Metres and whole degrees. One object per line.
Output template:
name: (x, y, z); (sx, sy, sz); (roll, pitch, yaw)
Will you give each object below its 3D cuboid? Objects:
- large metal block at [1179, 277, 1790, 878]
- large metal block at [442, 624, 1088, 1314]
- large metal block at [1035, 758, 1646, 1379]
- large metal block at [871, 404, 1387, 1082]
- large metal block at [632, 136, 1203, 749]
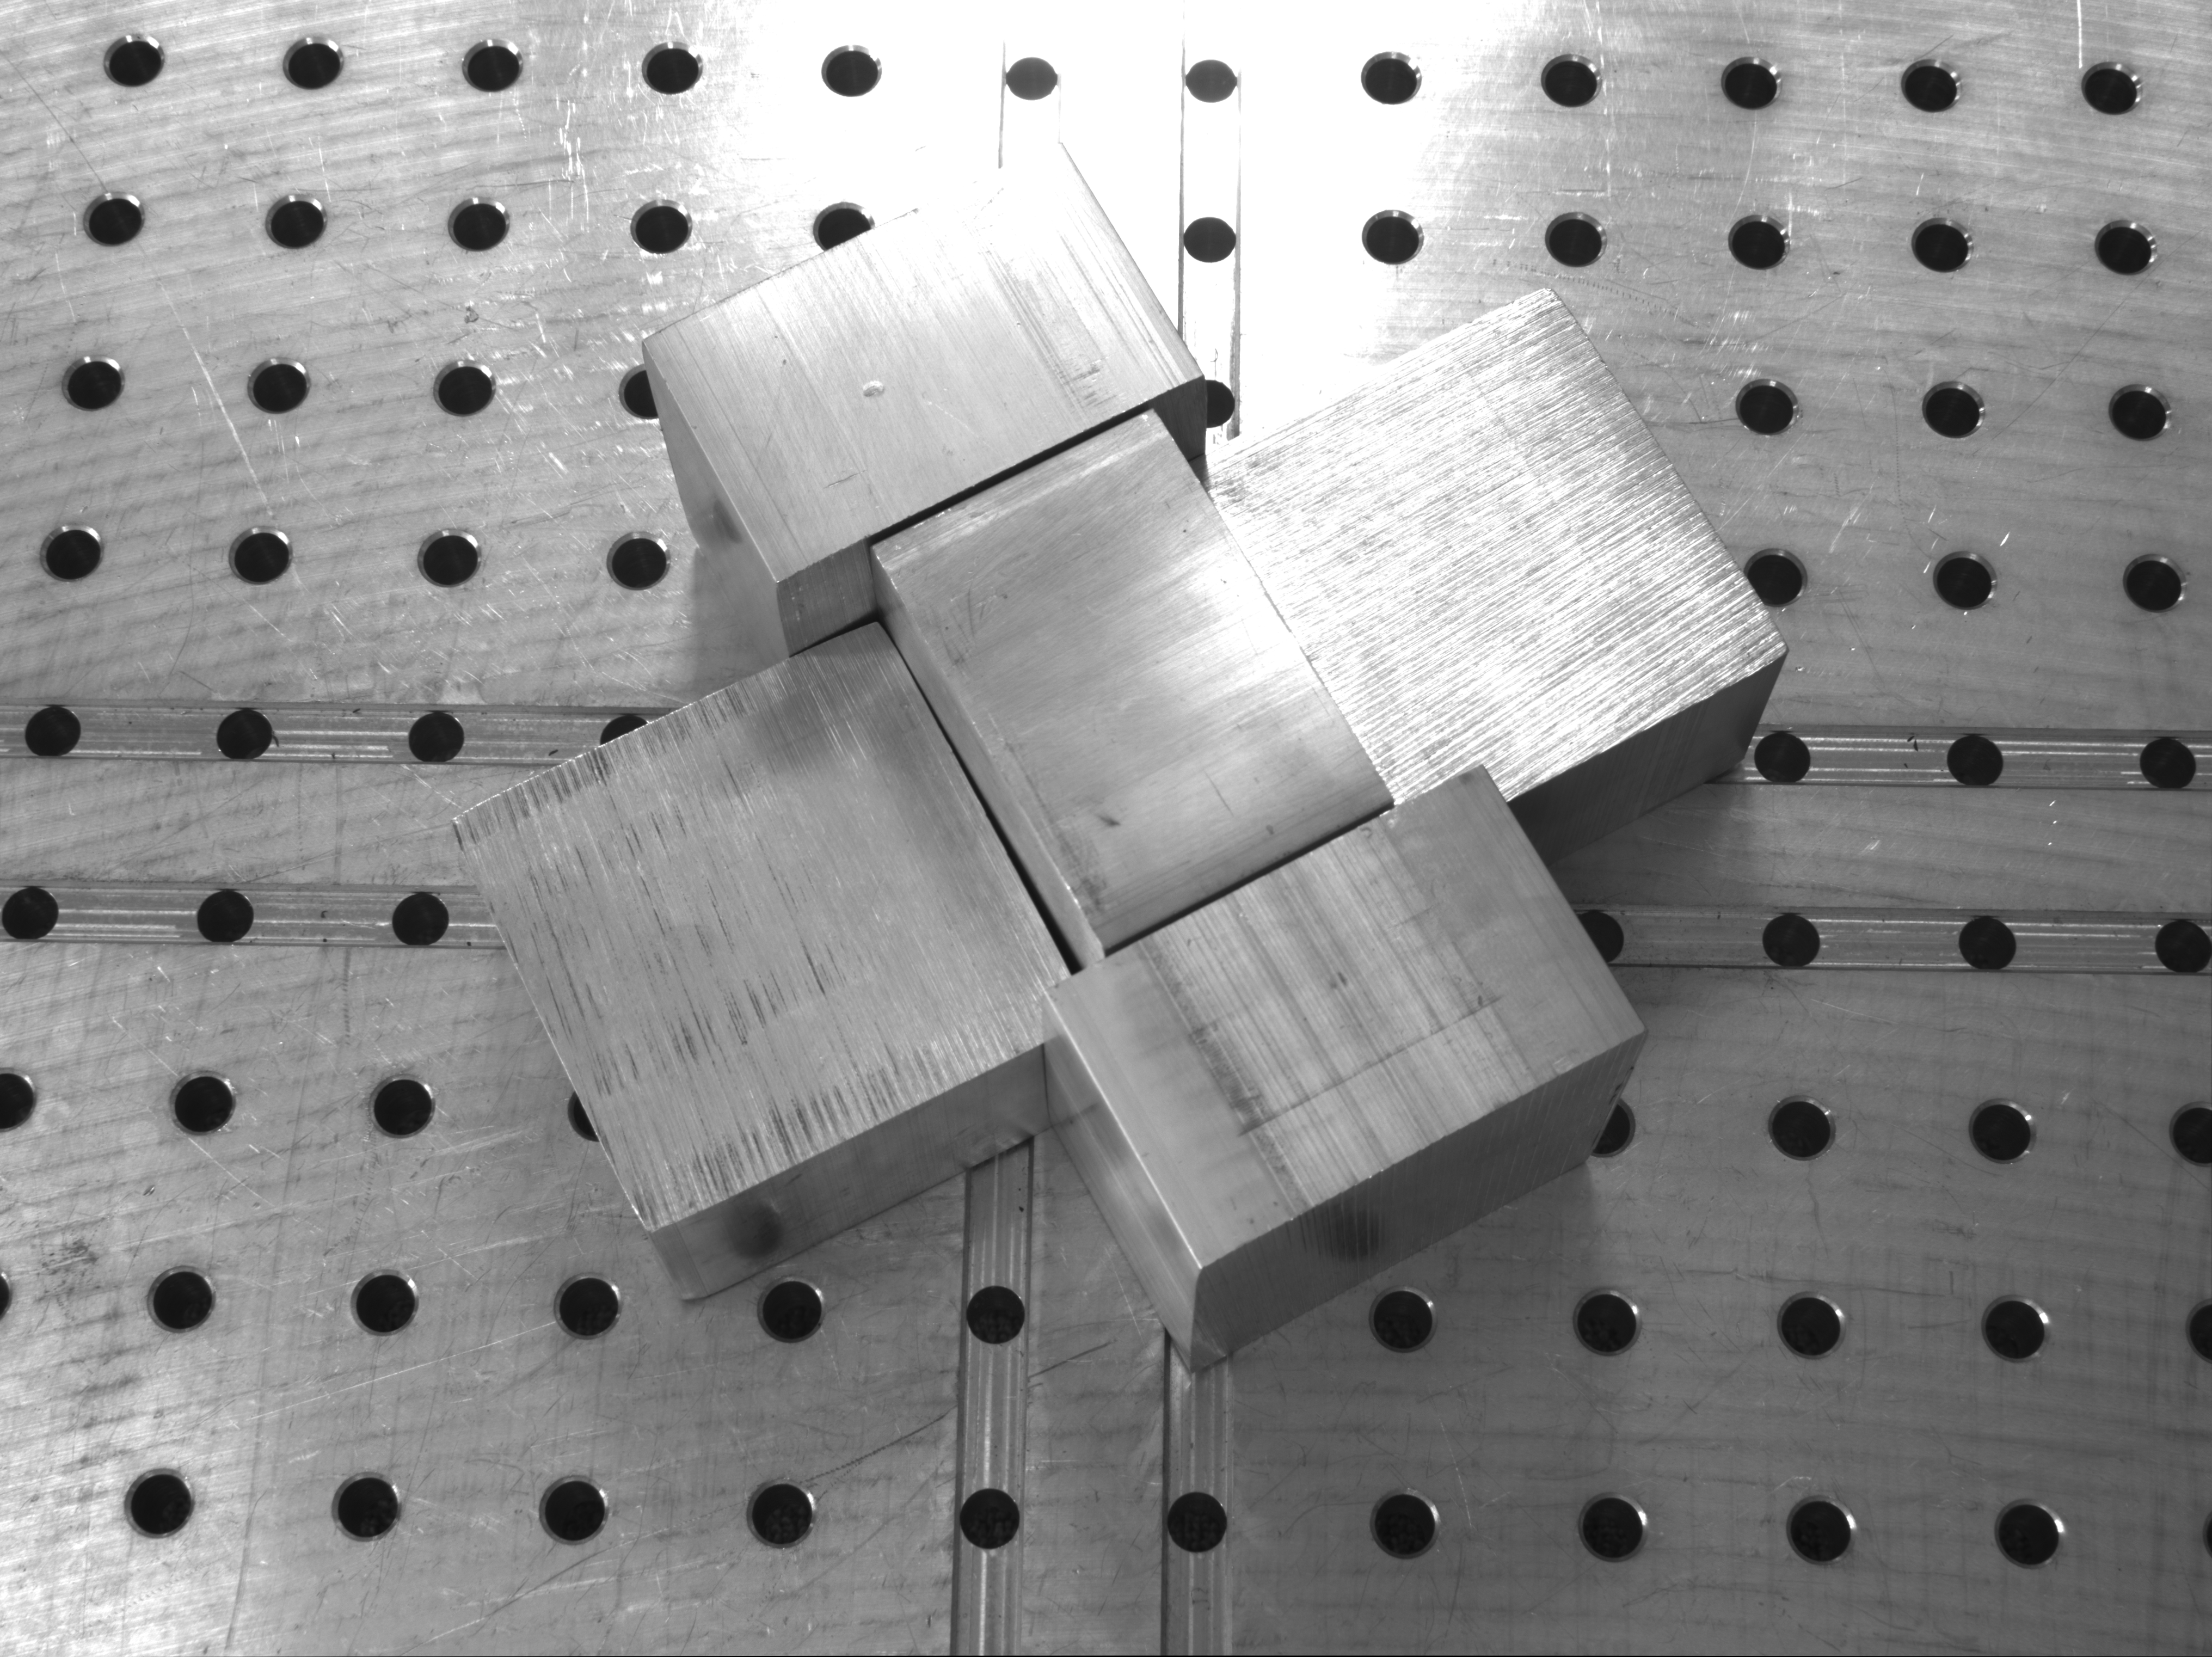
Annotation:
large metal block: (0.061, -0.037, 0.647); (0.080, 0.050, 0.080); (-27, 74, -9)
large metal block: (-0.056, 0.024, 0.627); (0.080, 0.050, 0.080); (-25, 71, -9)
large metal block: (0.036, 0.041, 0.603); (0.080, 0.080, 0.050); (-27, 72, -10)
large metal block: (0.003, -0.012, 0.623); (0.050, 0.080, 0.080); (-27, 72, -9)
large metal block: (-0.031, -0.064, 0.642); (0.080, 0.080, 0.050); (-27, 71, -9)
